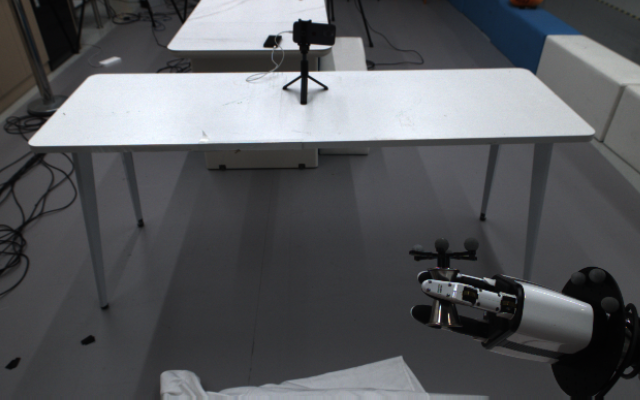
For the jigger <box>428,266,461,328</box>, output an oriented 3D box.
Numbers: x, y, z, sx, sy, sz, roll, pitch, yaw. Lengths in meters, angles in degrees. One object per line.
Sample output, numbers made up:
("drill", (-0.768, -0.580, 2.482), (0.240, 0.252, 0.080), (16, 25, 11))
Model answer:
("jigger", (0.151, 0.118, 0.596), (0.043, 0.043, 0.071), (3, 75, 1))
